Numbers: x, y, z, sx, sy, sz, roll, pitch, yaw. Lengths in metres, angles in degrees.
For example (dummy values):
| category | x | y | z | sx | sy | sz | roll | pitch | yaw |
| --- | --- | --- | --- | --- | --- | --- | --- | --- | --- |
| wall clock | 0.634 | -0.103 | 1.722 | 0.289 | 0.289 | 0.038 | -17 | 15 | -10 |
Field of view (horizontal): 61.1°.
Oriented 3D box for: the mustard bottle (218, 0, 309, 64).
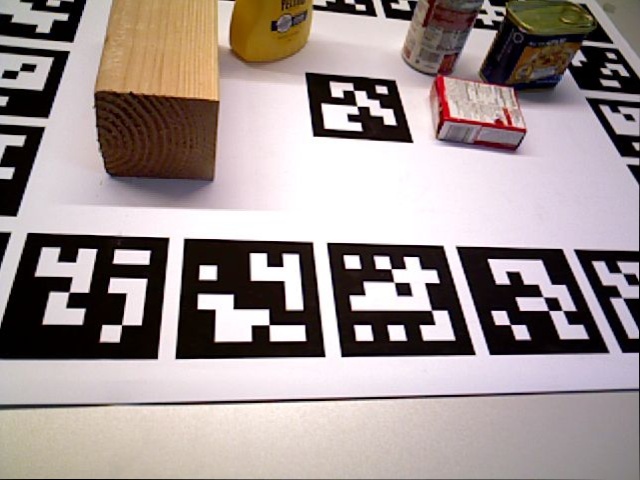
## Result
| category | x | y | z | sx | sy | sz | roll | pitch | yaw |
| --- | --- | --- | --- | --- | --- | --- | --- | --- | --- |
| mustard bottle | -0.044 | -0.268 | 0.517 | 0.094 | 0.196 | 0.058 | -20 | 59 | -27 |

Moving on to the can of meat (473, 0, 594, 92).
| category | x | y | z | sx | sy | sz | roll | pitch | yaw |
| --- | --- | --- | --- | --- | --- | --- | --- | --- | --- |
| can of meat | 0.232 | -0.214 | 0.601 | 0.100 | 0.086 | 0.057 | -9 | 56 | -21 |

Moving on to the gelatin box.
| category | x | y | z | sx | sy | sz | roll | pitch | yaw |
| --- | --- | --- | --- | --- | --- | --- | --- | --- | --- |
| gelatin box | 0.162 | -0.129 | 0.550 | 0.089 | 0.031 | 0.072 | 9 | 54 | -3 |

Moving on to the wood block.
| category | x | y | z | sx | sy | sz | roll | pitch | yaw |
| --- | --- | --- | --- | --- | --- | --- | --- | --- | --- |
| wood block | -0.138 | -0.159 | 0.475 | 0.090 | 0.092 | 0.203 | 3 | 49 | -12 |

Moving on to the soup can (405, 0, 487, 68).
| category | x | y | z | sx | sy | sz | roll | pitch | yaw |
| --- | --- | --- | --- | --- | --- | --- | --- | --- | --- |
| soup can | 0.138 | -0.247 | 0.582 | 0.067 | 0.104 | 0.067 | 5 | 54 | -8 |
